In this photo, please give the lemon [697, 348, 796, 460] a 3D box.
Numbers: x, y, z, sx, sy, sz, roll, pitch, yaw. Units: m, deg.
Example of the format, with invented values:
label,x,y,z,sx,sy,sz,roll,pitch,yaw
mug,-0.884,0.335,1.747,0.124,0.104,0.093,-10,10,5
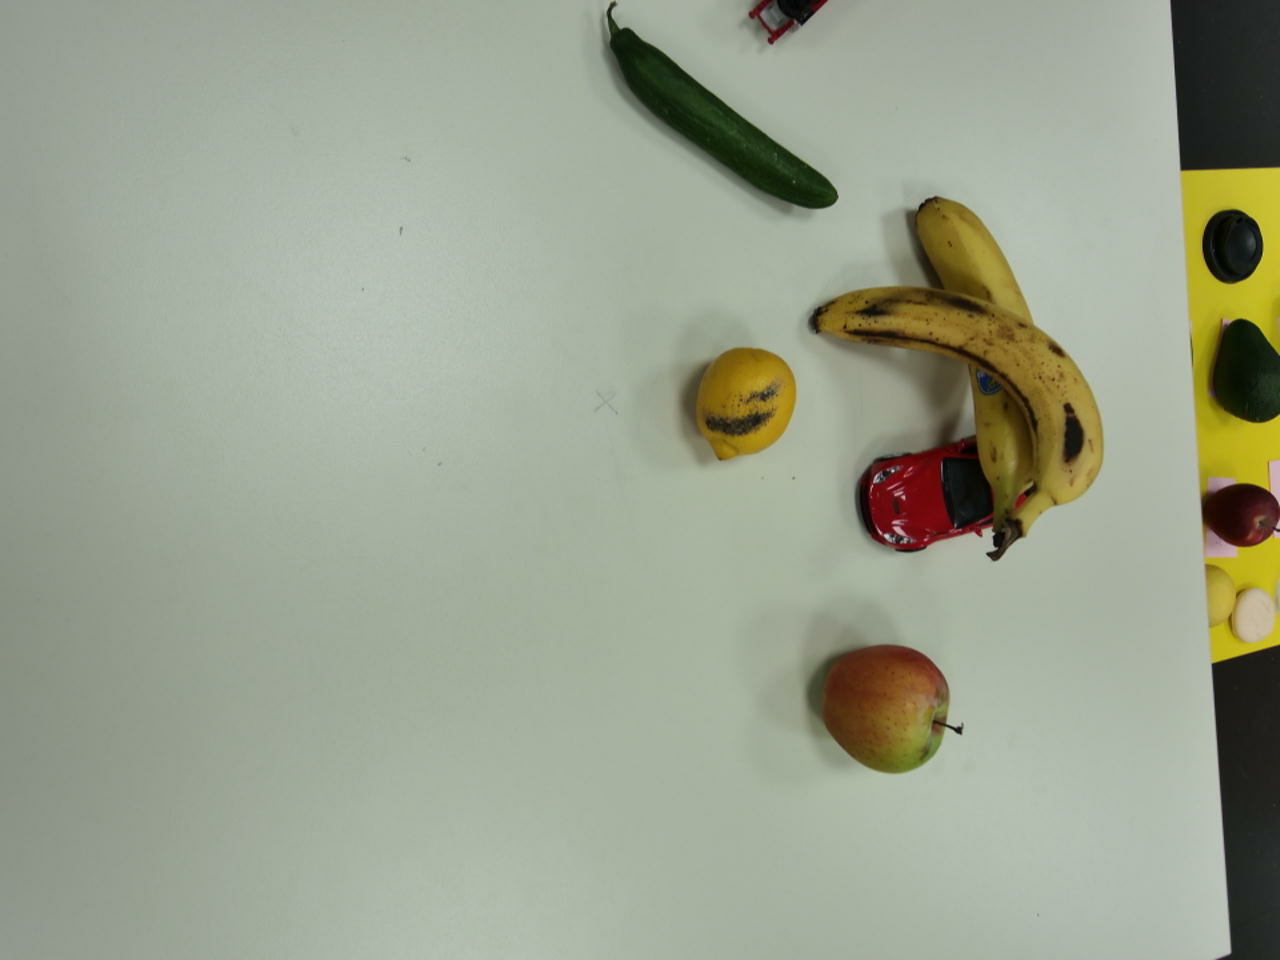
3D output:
label,x,y,z,sx,sy,sz,roll,pitch,yaw
lemon,0.060,-0.045,0.570,0.058,0.056,0.061,-15,96,-21
